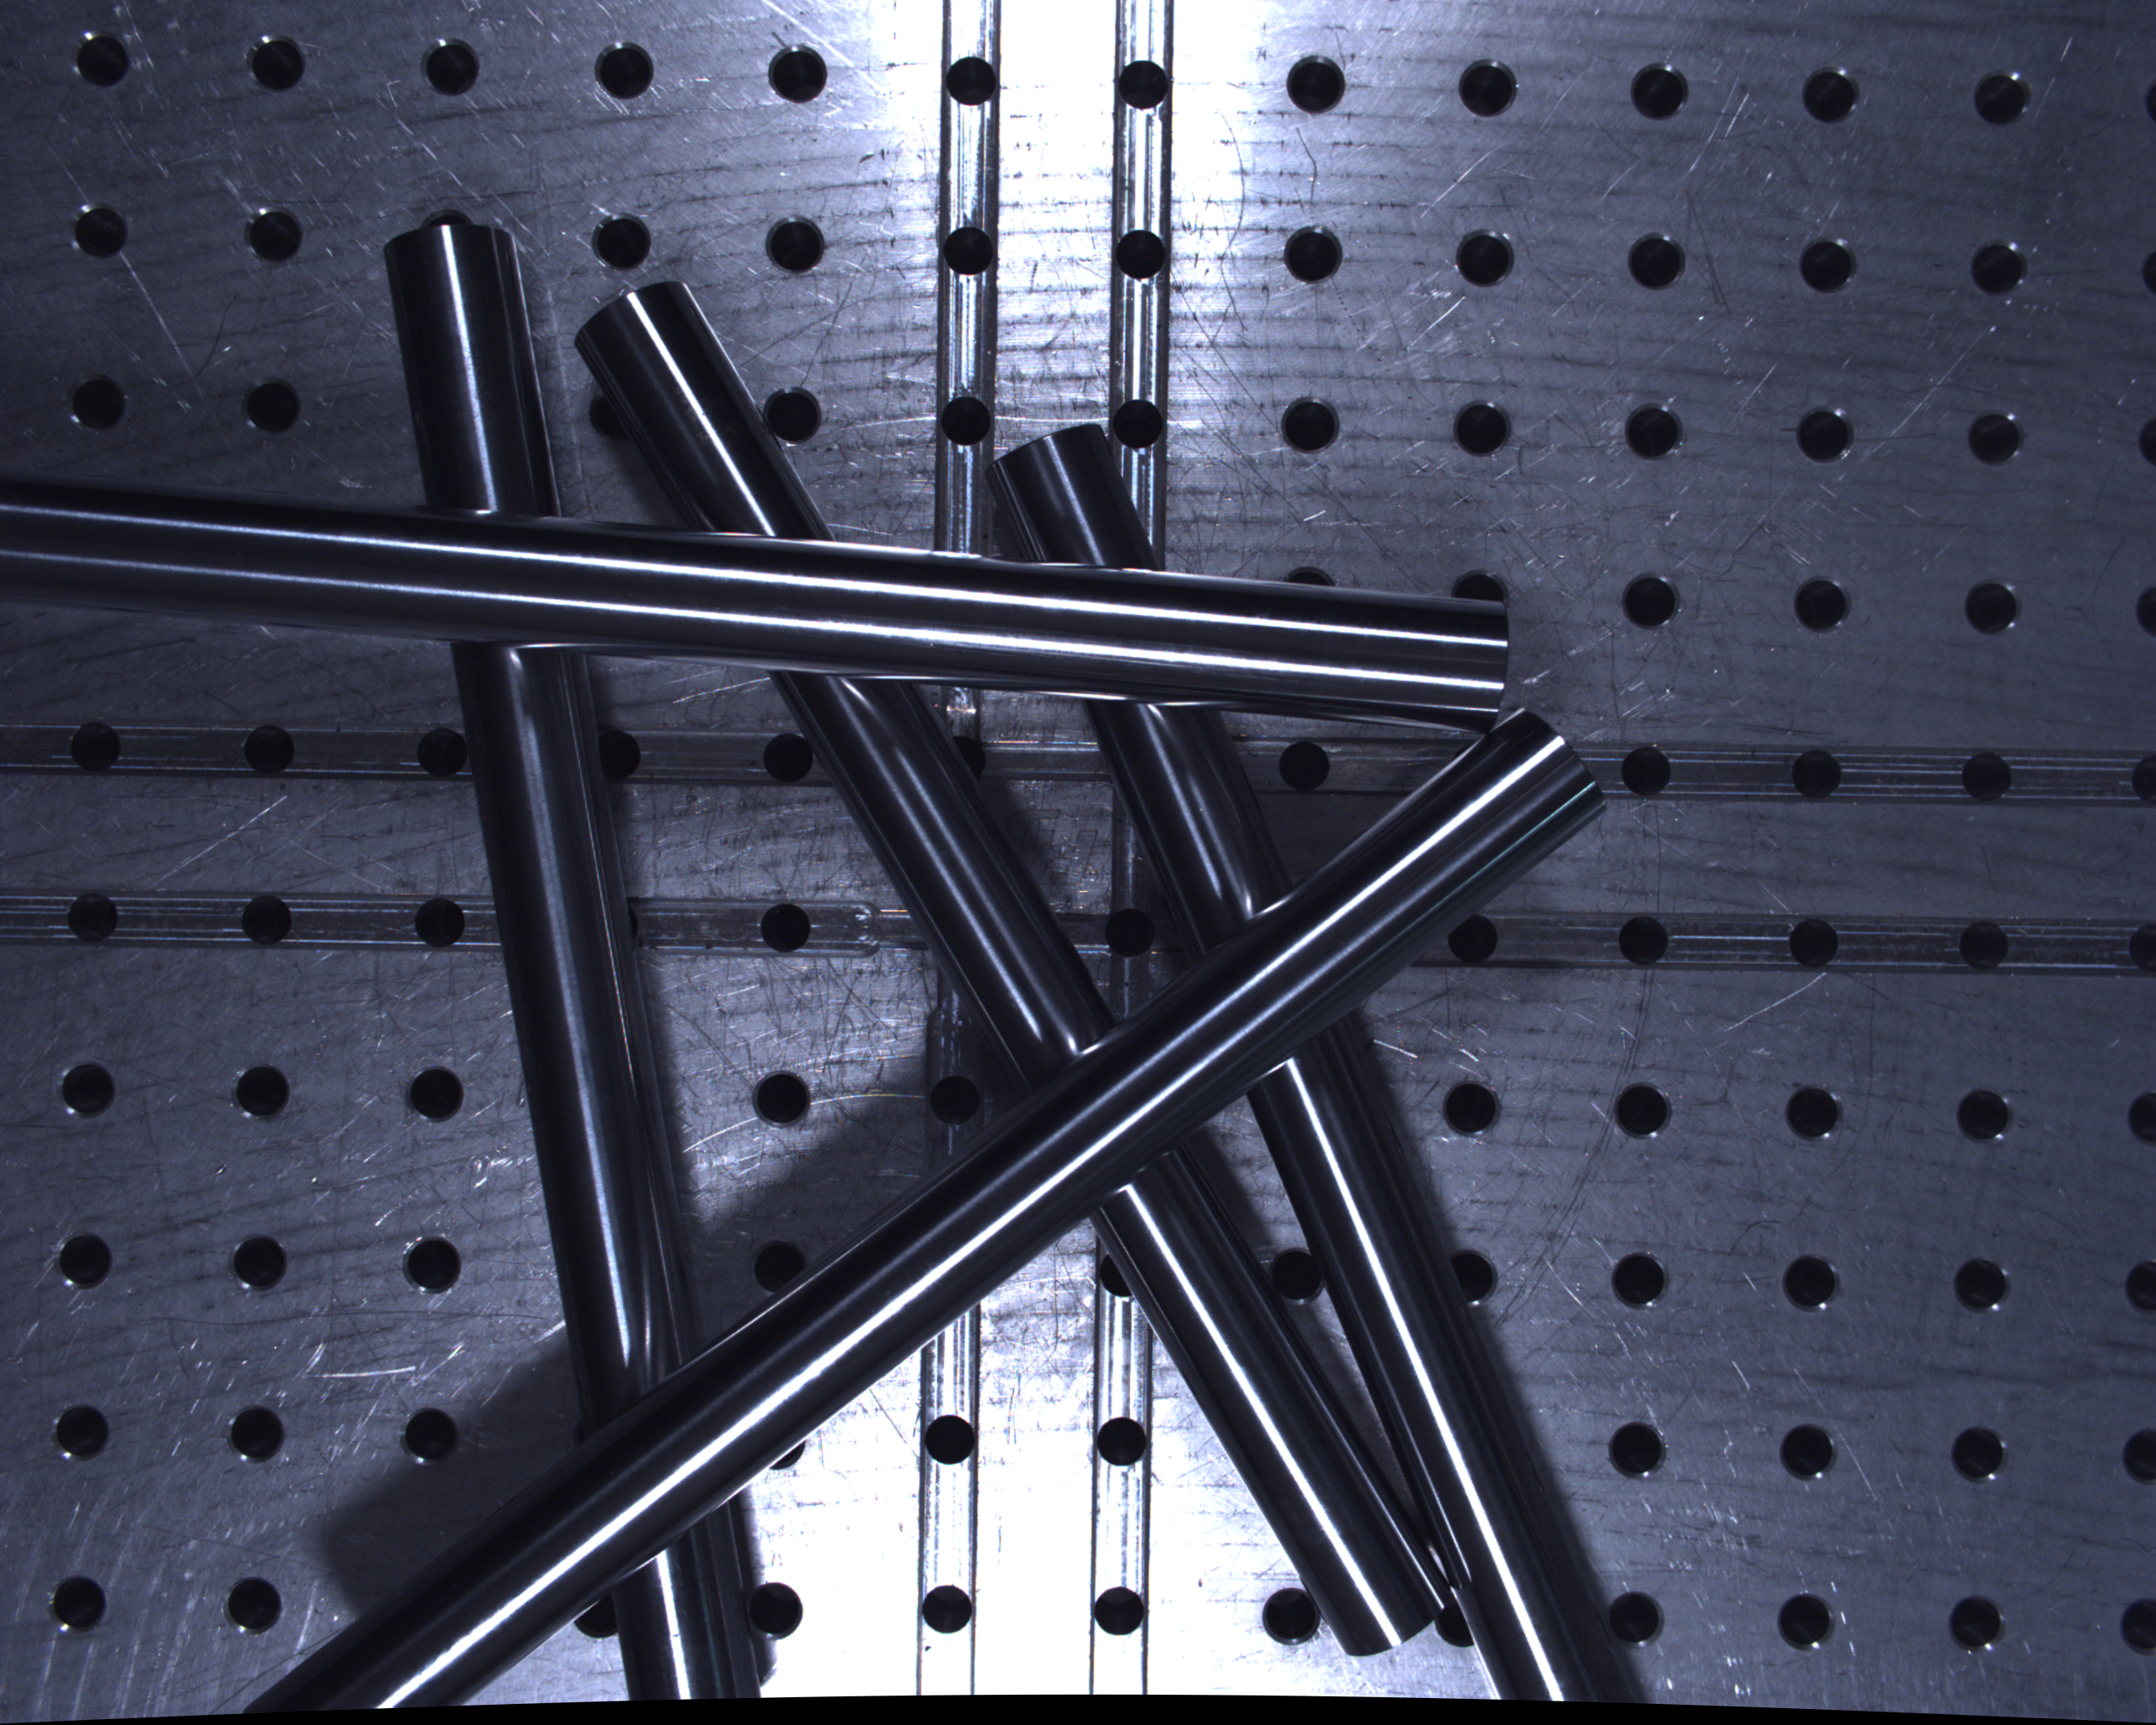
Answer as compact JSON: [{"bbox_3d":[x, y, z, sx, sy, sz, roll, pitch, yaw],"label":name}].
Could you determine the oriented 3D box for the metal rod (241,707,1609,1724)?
[{"bbox_3d":[-0.028,0.073,0.388,0.300,0.025,0.025,-38,90,-1],"label":"metal rod"}]

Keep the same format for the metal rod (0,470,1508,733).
[{"bbox_3d":[-0.073,-0.049,0.388,0.302,0.025,0.025,5,90,-1],"label":"metal rod"}]

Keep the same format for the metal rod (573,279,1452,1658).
[{"bbox_3d":[-0.013,0.021,0.413,0.025,0.025,0.299,-30,90,0],"label":"metal rod"}]

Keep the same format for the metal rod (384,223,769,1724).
[{"bbox_3d":[-0.099,0.025,0.411,0.025,0.025,0.298,-10,90,0],"label":"metal rod"}]

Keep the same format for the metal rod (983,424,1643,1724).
[{"bbox_3d":[0.051,0.056,0.414,0.025,0.025,0.299,-23,90,0],"label":"metal rod"}]
